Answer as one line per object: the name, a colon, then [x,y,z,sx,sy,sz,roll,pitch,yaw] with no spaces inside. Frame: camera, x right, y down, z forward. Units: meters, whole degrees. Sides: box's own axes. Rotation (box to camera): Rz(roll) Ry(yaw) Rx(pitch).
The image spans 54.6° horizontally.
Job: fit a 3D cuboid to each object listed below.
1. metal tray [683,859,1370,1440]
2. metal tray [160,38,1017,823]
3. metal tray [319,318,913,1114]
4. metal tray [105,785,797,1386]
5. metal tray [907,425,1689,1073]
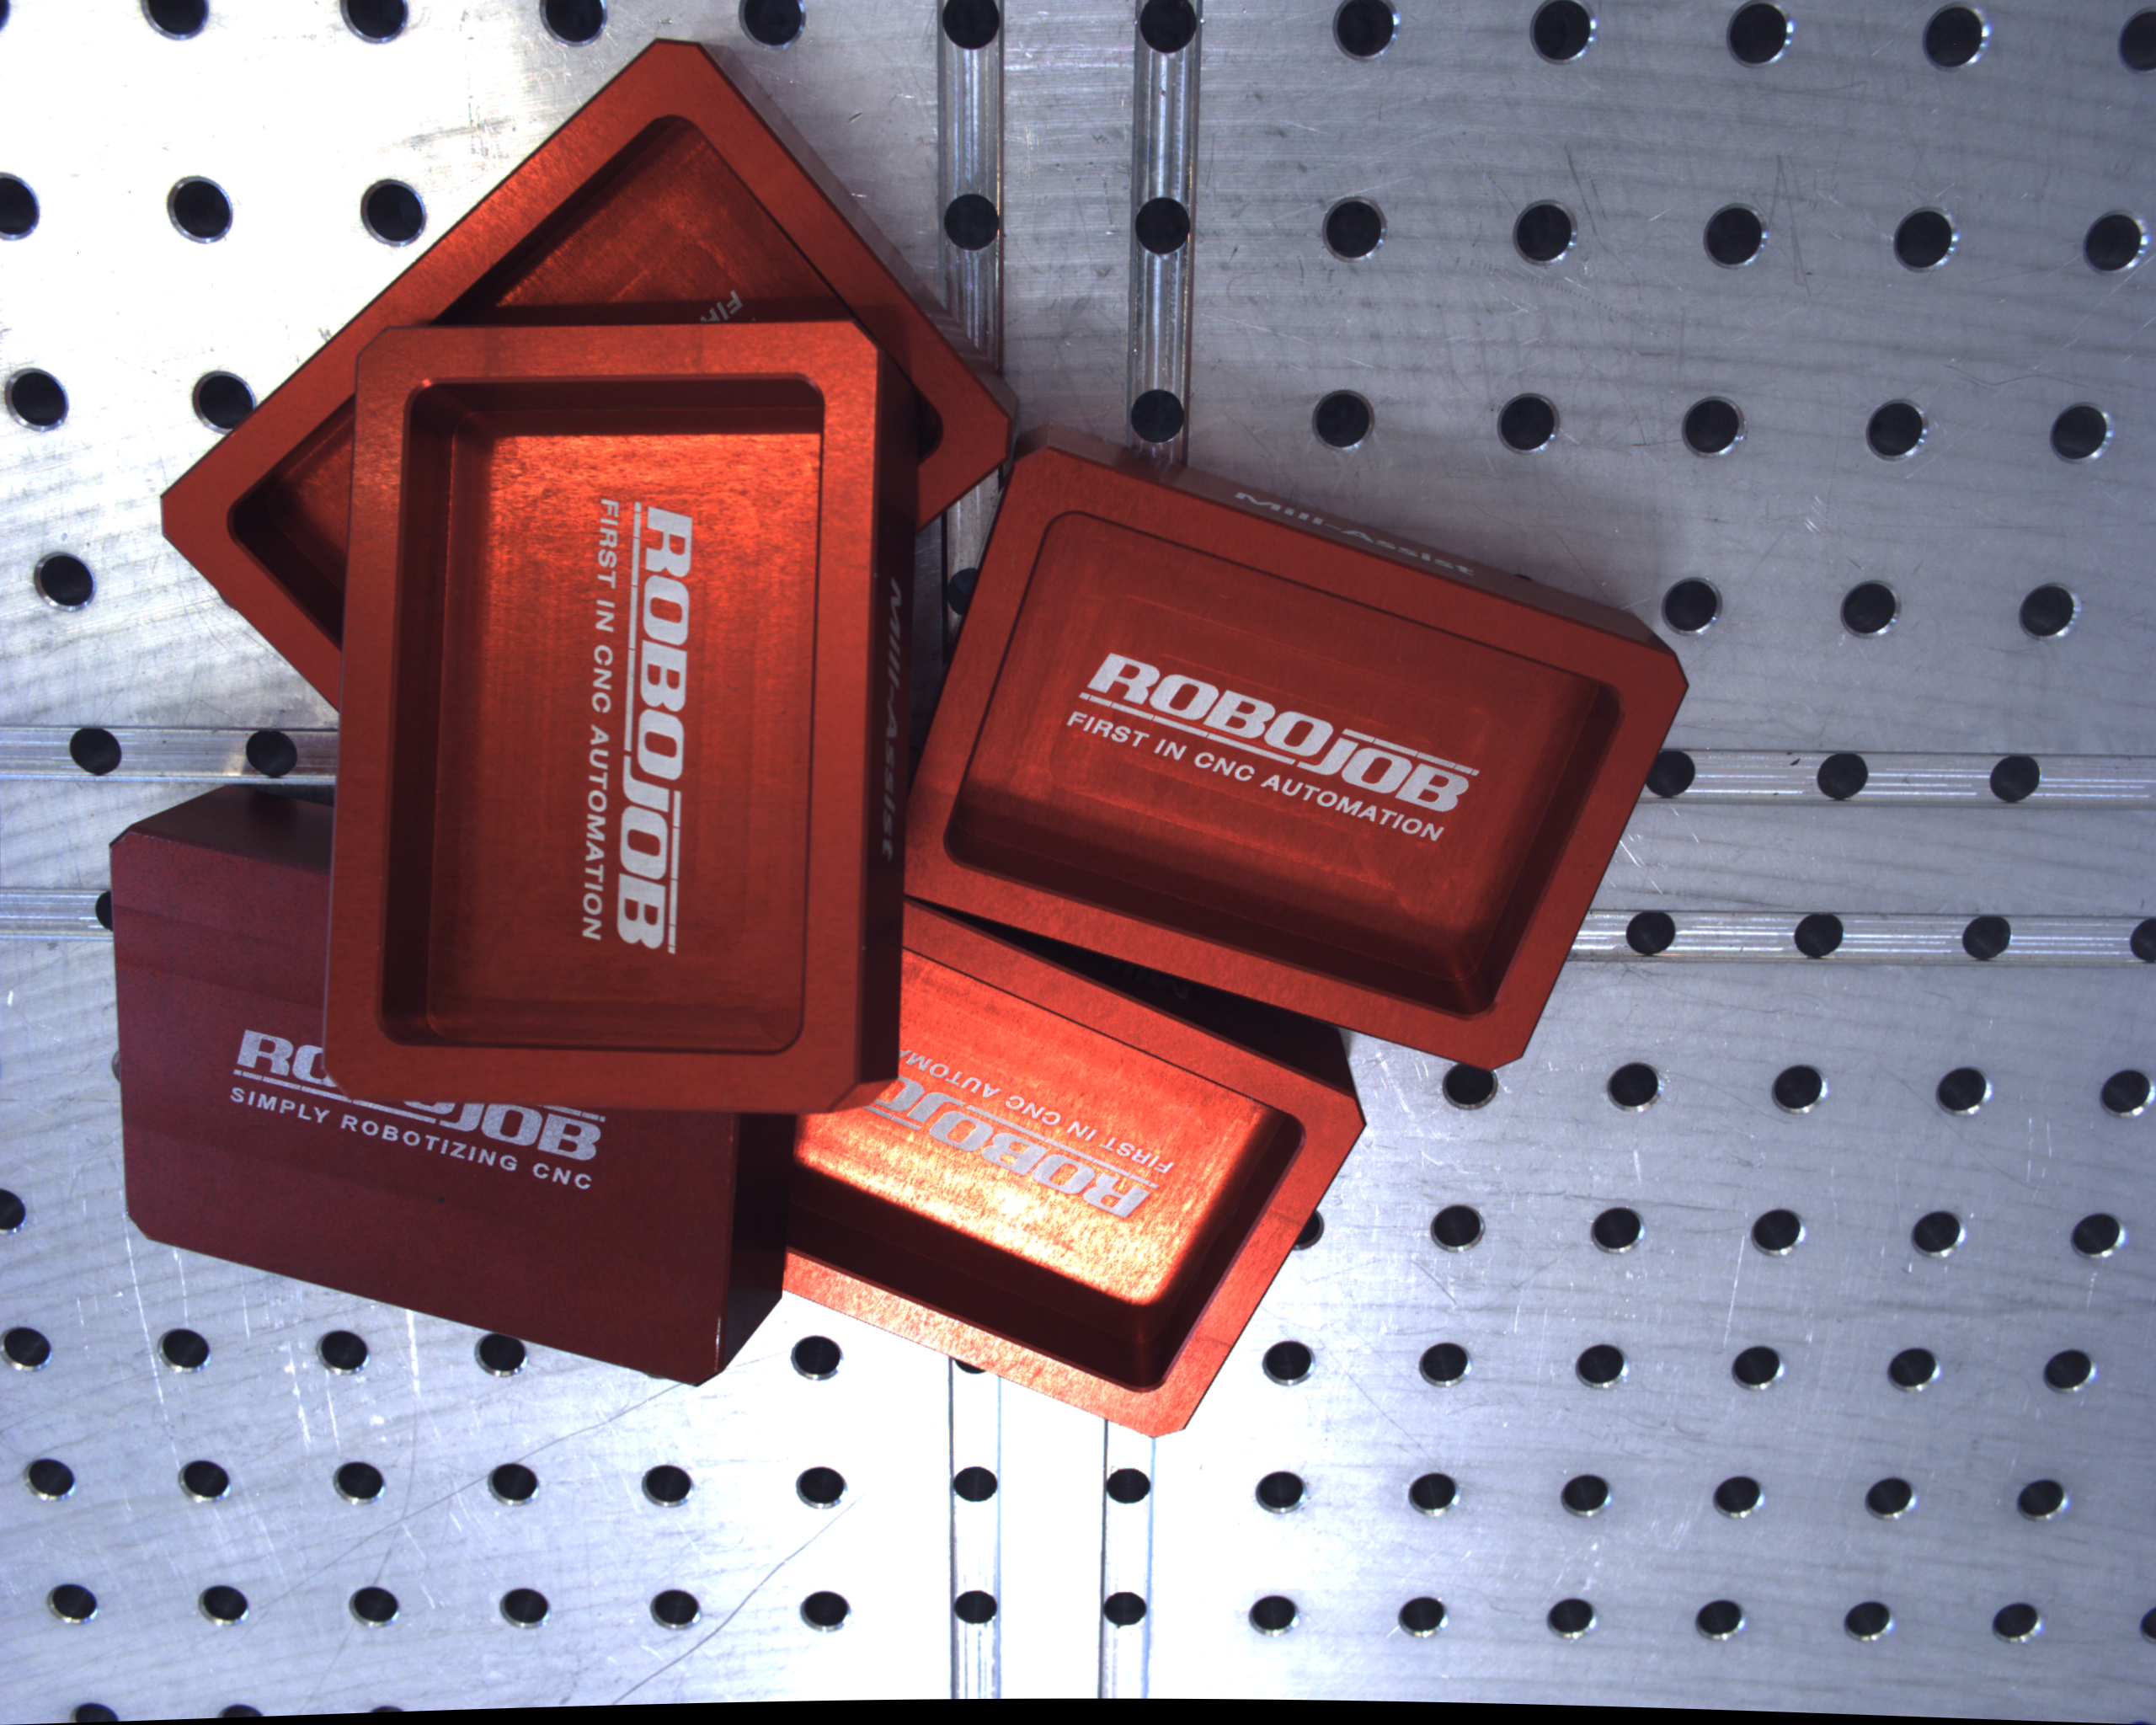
metal tray: [-0.018,0.055,0.430,0.131,0.030,0.090,24,109,-9]
metal tray: [-0.087,-0.073,0.382,0.130,0.030,0.090,-38,105,12]
metal tray: [-0.077,-0.024,0.355,0.090,0.030,0.129,1,86,7]
metal tray: [-0.121,0.042,0.407,0.130,0.030,0.089,11,111,10]
metal tray: [0.038,-0.021,0.402,0.131,0.030,0.089,17,110,-7]
